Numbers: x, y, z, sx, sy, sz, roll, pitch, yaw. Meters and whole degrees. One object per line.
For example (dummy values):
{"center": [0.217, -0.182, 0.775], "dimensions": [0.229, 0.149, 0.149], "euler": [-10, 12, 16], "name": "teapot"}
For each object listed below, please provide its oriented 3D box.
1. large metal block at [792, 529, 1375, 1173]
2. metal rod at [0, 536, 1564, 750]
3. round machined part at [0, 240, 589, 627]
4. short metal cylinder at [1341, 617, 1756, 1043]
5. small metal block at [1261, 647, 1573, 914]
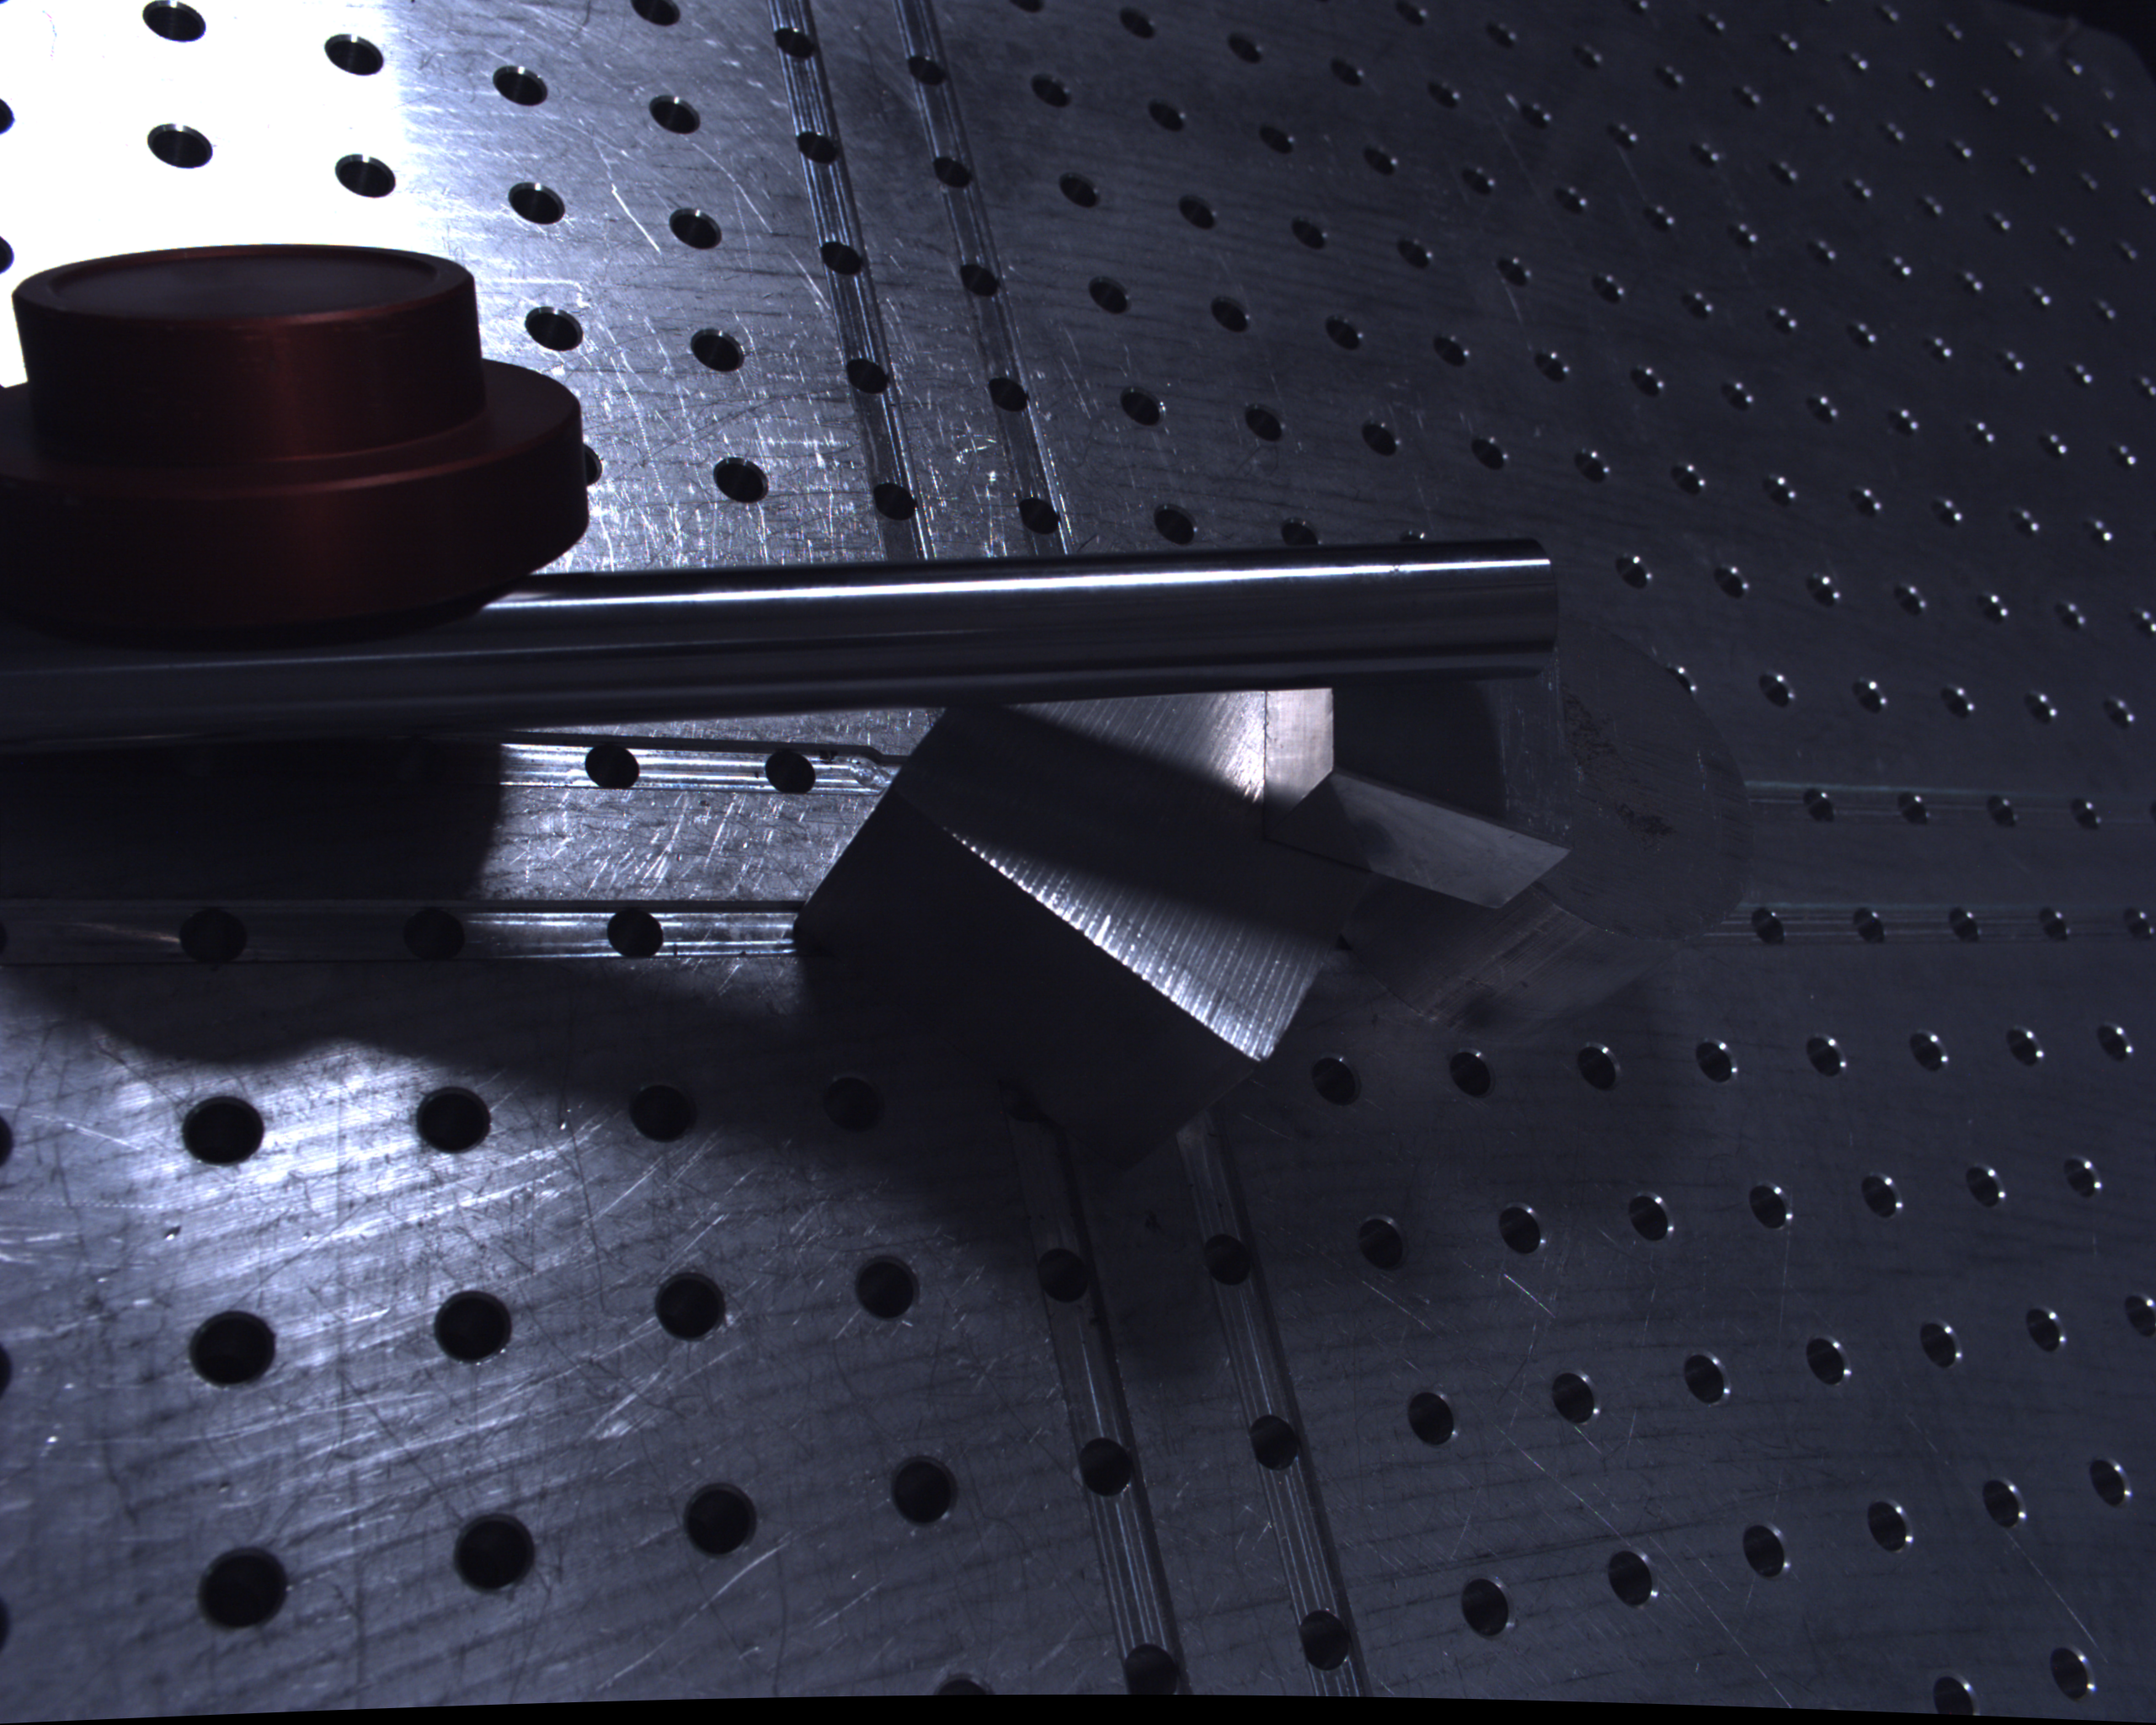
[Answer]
{"center": [0.007, -0.003, 0.396], "dimensions": [0.080, 0.050, 0.080], "euler": [38, 51, -3], "name": "large metal block"}
{"center": [-0.067, -0.036, 0.339], "dimensions": [0.302, 0.025, 0.025], "euler": [-4, 62, -11], "name": "metal rod"}
{"center": [-0.131, -0.074, 0.338], "dimensions": [0.099, 0.042, 0.098], "euler": [1, 26, 0], "name": "round machined part"}
{"center": [0.097, -0.008, 0.451], "dimensions": [0.081, 0.050, 0.080], "euler": [14, 56, -21], "name": "short metal cylinder"}
{"center": [0.063, -0.024, 0.391], "dimensions": [0.050, 0.025, 0.050], "euler": [17, 55, -19], "name": "small metal block"}
